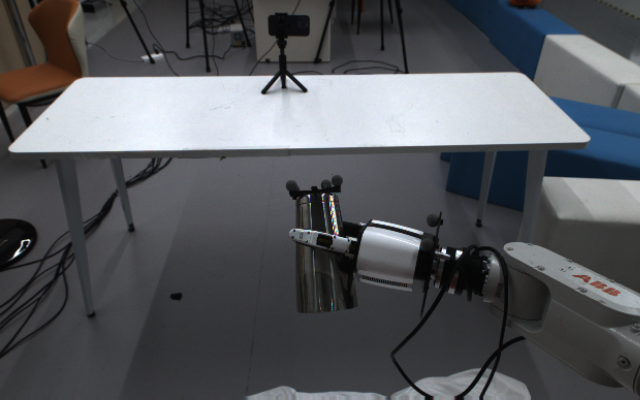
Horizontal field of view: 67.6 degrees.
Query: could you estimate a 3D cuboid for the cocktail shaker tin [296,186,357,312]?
[{"bbox_3d":[0.003,0.079,0.734,0.093,0.170,0.093,-6,-7,-1],"label":"cocktail shaker tin"}]
